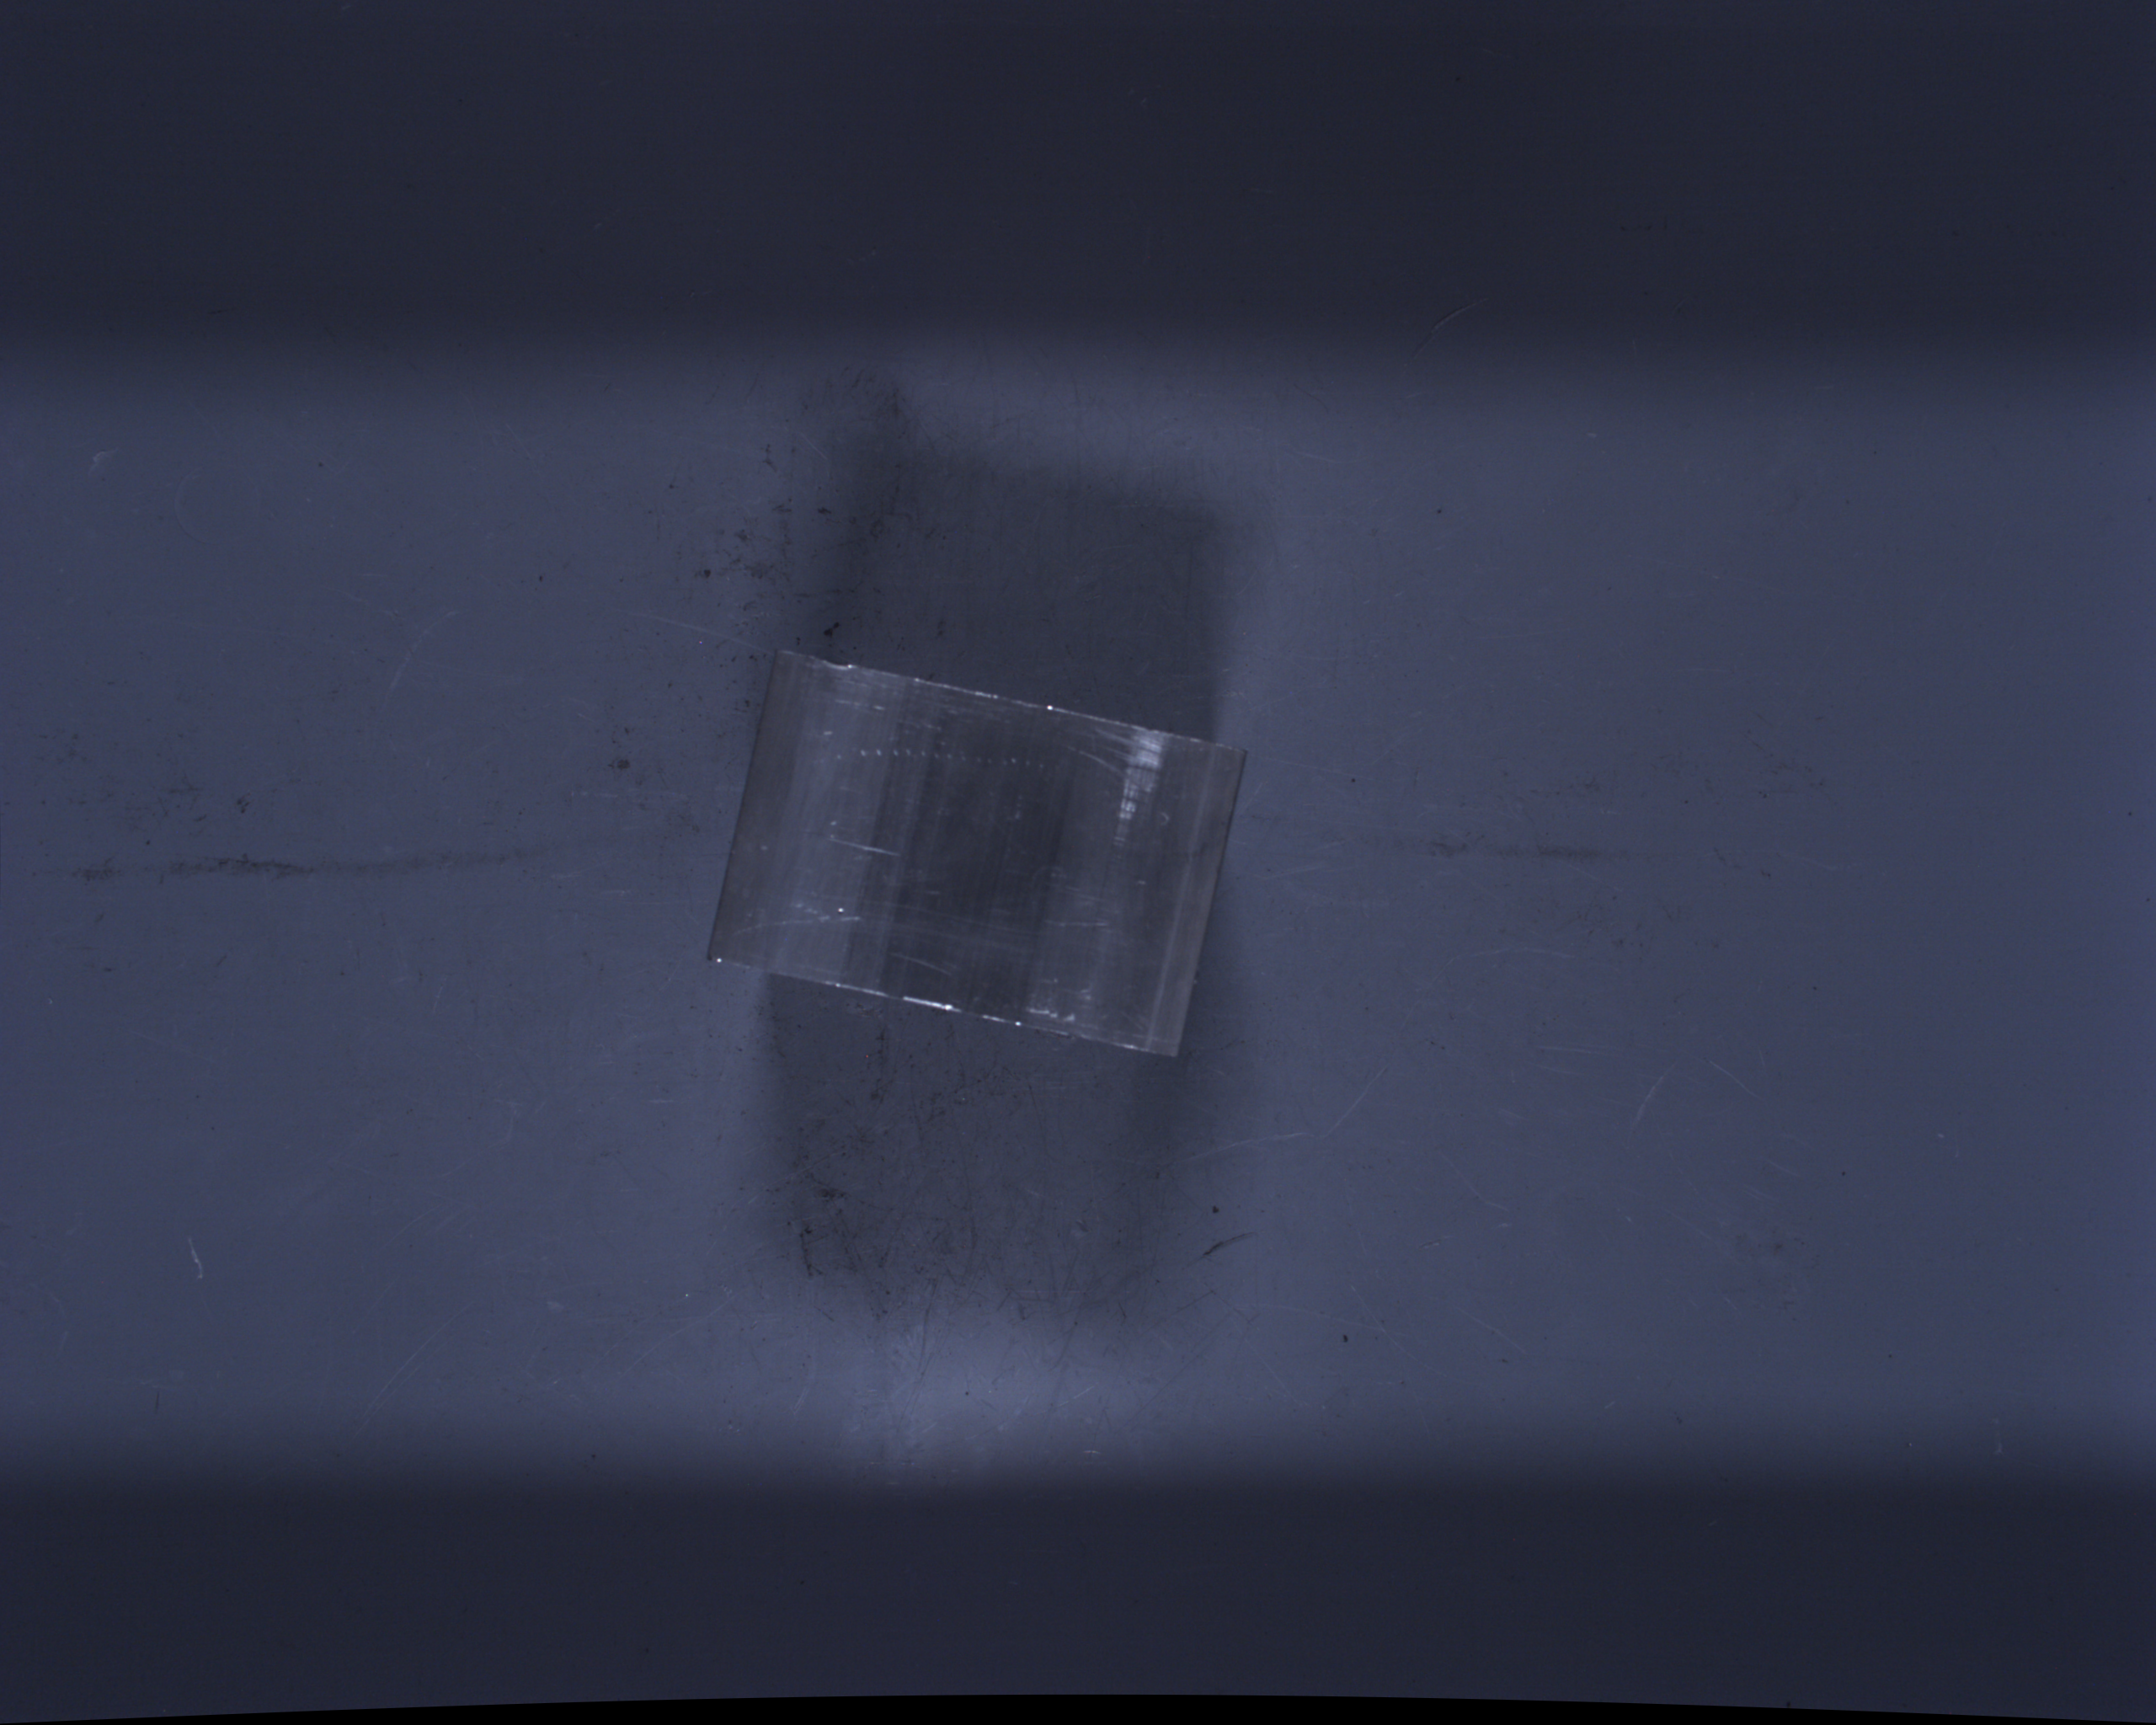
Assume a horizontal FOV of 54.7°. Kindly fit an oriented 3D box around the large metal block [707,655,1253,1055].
[{"bbox_3d":[-0.016,-0.001,0.381,0.080,0.080,0.050,12,90,-1],"label":"large metal block"}]
